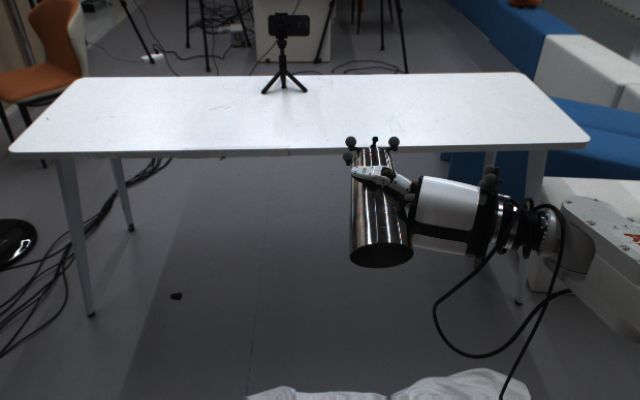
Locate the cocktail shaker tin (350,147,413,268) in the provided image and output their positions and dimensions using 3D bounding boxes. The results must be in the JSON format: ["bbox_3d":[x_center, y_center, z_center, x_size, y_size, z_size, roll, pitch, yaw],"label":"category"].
[{"bbox_3d":[0.085,0.006,0.729,0.093,0.093,0.170,0,59,-3],"label":"cocktail shaker tin"}]
